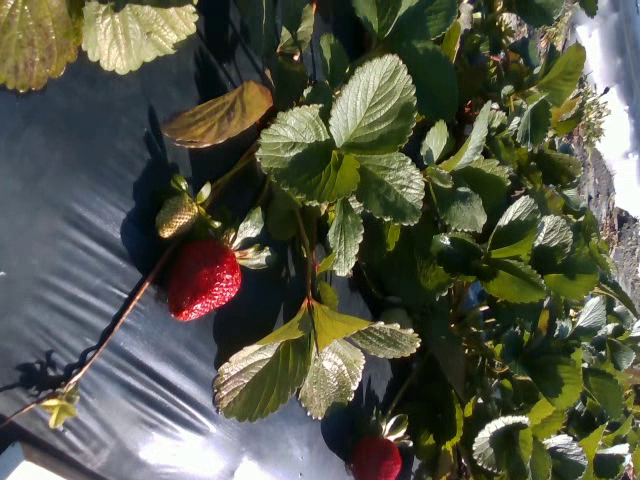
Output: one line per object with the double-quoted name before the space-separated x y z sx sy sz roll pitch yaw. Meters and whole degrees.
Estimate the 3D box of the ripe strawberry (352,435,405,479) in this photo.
"ripe strawberry" 0.037 0.161 0.429 0.043 0.043 0.050 4 26 7

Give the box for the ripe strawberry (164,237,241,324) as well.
"ripe strawberry" -0.060 0.022 0.310 0.043 0.042 0.053 -8 40 18
